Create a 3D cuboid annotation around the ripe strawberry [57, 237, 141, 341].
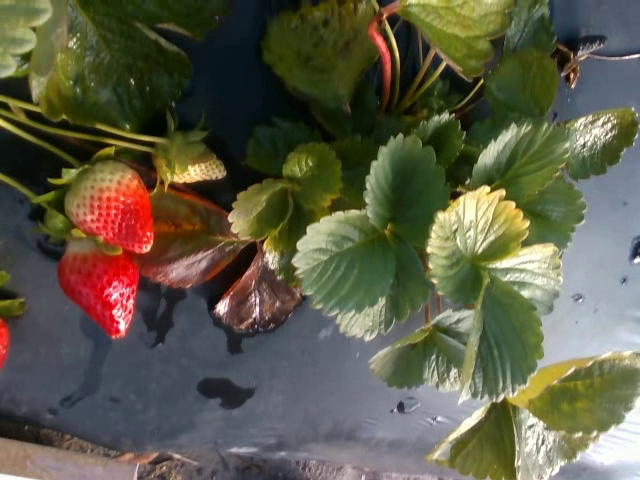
[{"bbox_3d":[-0.111,0.026,0.316,0.044,0.055,0.041,-16,3,38],"label":"ripe strawberry"}]
